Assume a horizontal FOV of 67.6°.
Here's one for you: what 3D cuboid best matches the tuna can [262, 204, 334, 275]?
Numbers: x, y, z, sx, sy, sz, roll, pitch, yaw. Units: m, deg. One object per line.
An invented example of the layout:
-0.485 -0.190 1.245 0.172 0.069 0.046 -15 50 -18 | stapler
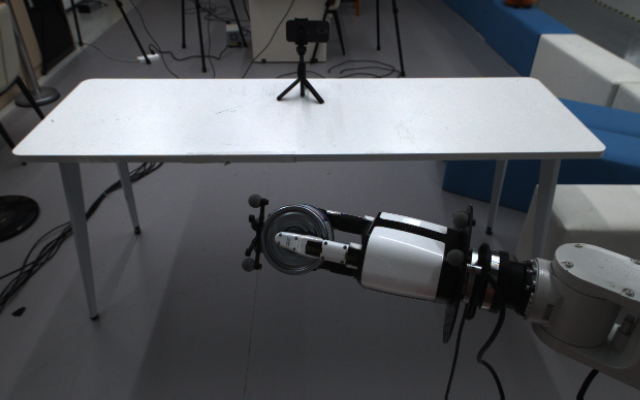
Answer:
-0.024 0.050 0.585 0.085 0.085 0.034 10 2 11 | tuna can
